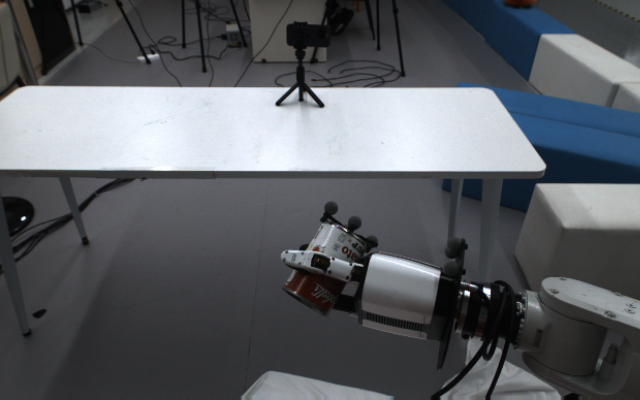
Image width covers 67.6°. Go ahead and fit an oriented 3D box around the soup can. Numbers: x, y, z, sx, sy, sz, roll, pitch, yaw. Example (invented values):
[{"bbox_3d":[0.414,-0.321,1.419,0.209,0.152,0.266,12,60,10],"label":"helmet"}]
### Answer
[{"bbox_3d":[0.007,0.086,0.610,0.067,0.067,0.101,24,73,29],"label":"soup can"}]
